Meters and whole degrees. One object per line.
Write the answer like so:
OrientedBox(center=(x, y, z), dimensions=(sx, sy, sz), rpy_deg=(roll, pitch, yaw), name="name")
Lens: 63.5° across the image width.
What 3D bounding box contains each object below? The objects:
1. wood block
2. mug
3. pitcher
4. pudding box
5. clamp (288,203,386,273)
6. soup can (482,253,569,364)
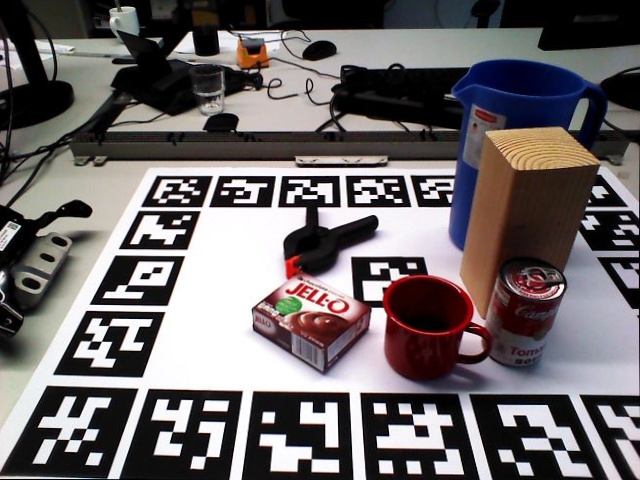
OrientedBox(center=(0.231, -0.022, 0.584), dimensions=(0.090, 0.207, 0.090), rpy_deg=(1, 37, -2), name="wood block")
OrientedBox(center=(0.119, 0.095, 0.542), dimensions=(0.118, 0.082, 0.092), rpy_deg=(23, 41, 32), name="mug")
OrientedBox(center=(0.260, -0.106, 0.670), dimensions=(0.189, 0.243, 0.132), rpy_deg=(-3, 35, 4), name="pitcher")
OrientedBox(center=(-0.020, 0.086, 0.603), dimensions=(0.114, 0.039, 0.089), rpy_deg=(25, 48, 33), name="pudding box")
OrientedBox(center=(0.008, -0.006, 0.733), dimensions=(0.122, 0.037, 0.164), rpy_deg=(24, 44, 21), name="clamp")
OrientedBox(center=(0.212, 0.074, 0.546), dimensions=(0.068, 0.102, 0.067), rpy_deg=(-2, 39, 1), name="soup can")
